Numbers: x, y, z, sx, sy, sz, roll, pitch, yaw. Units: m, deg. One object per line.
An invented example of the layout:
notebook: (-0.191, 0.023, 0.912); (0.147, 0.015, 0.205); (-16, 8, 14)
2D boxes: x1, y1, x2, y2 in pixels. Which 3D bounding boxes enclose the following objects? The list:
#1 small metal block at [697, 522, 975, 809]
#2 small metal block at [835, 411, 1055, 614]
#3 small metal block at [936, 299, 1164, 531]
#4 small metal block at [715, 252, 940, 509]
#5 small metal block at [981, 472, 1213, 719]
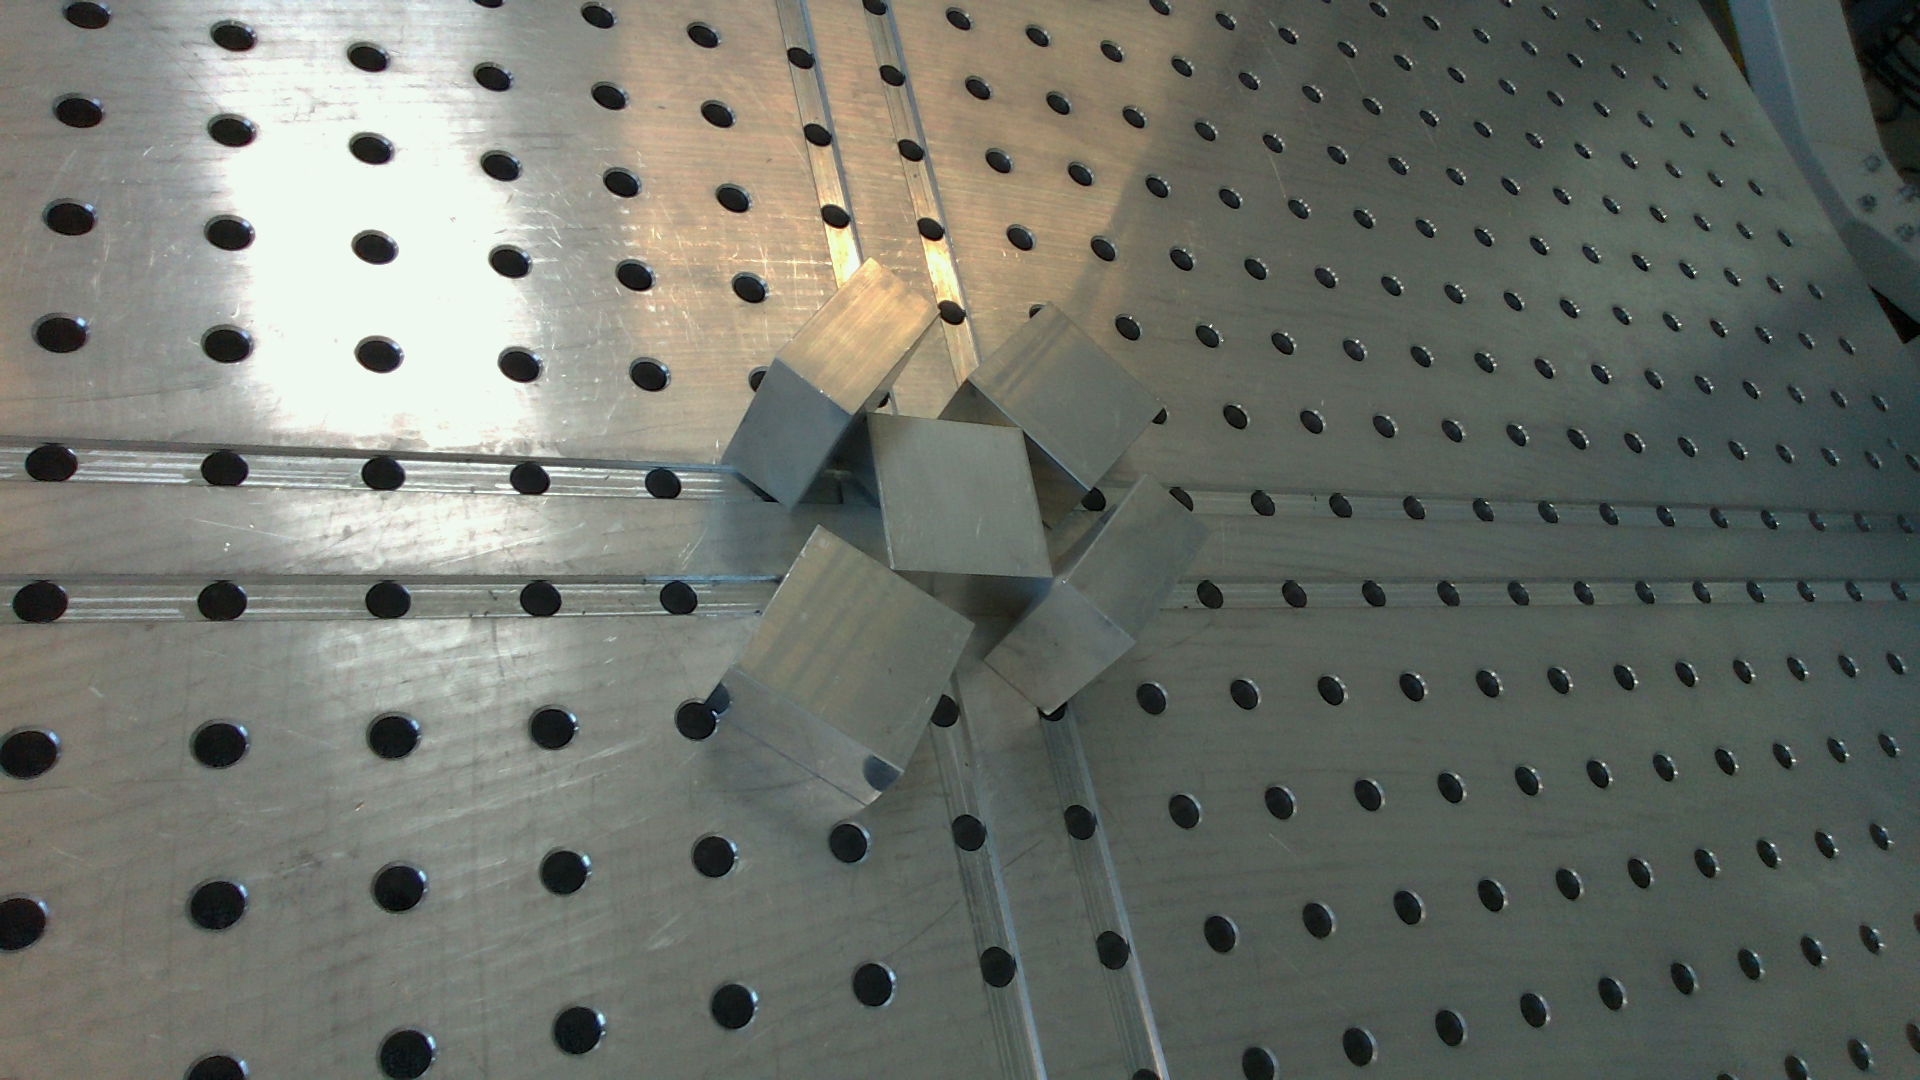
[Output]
small metal block: (-0.031, 0.032, 0.356); (0.050, 0.025, 0.050); (33, 51, -7)
small metal block: (-0.005, -0.007, 0.393); (0.050, 0.025, 0.050); (3, 59, -25)
small metal block: (0.028, -0.040, 0.432); (0.050, 0.025, 0.050); (43, 51, 1)
small metal block: (-0.037, -0.044, 0.383); (0.025, 0.050, 0.050); (38, 52, -3)
small metal block: (0.038, 0.016, 0.387); (0.025, 0.050, 0.050); (40, 51, 0)
